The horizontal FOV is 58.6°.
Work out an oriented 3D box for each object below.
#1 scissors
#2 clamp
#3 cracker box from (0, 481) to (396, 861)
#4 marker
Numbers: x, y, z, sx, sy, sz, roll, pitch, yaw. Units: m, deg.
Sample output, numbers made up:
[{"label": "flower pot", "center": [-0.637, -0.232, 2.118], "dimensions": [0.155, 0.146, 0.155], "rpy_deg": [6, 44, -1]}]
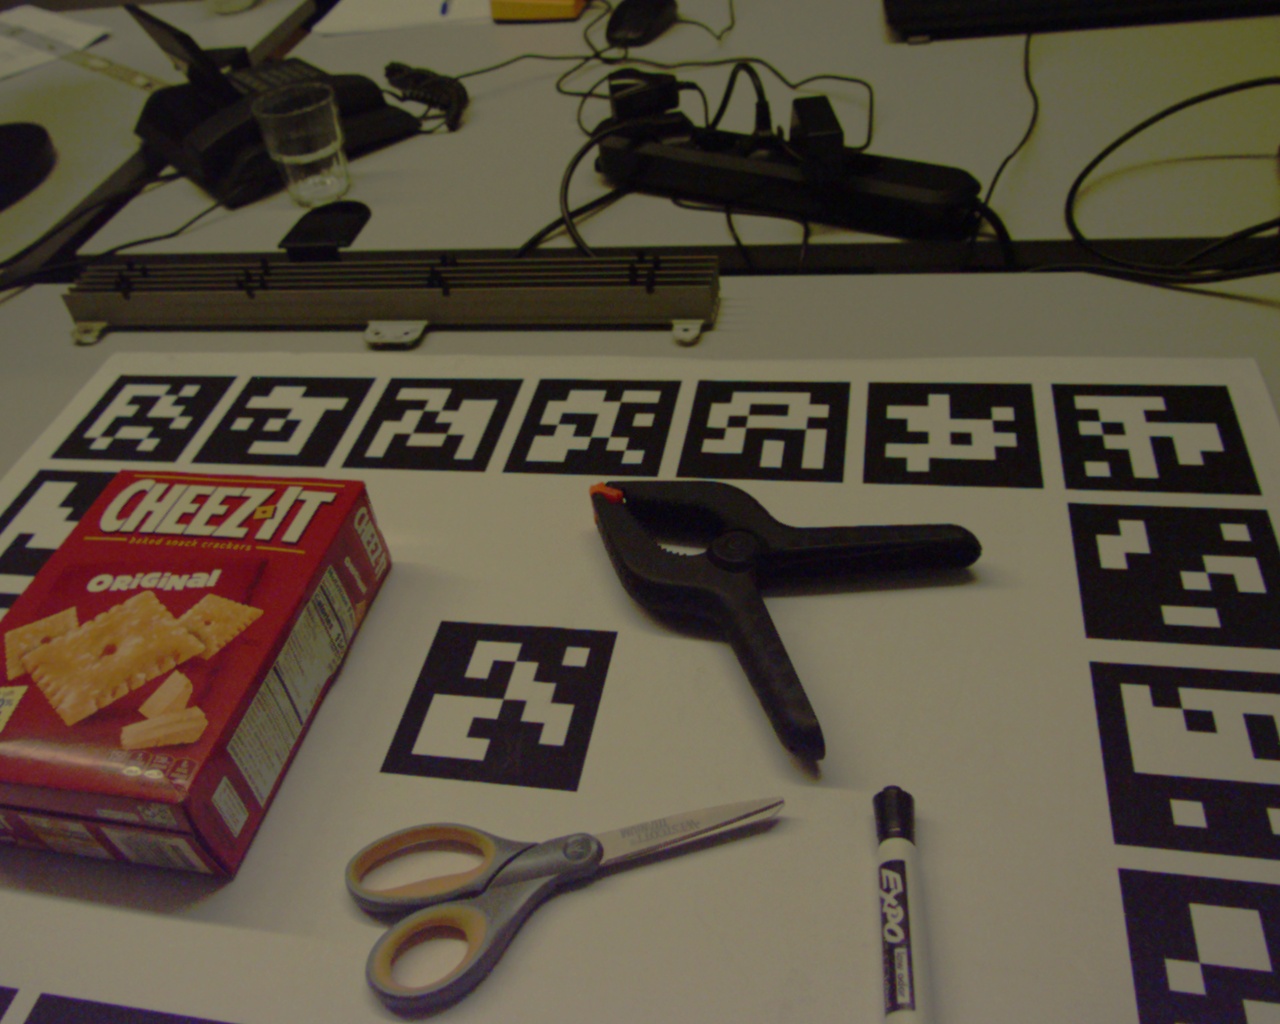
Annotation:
[{"label": "scissors", "center": [-0.037, 0.155, 0.536], "dimensions": [0.202, 0.016, 0.088], "rpy_deg": [-16, 40, -10]}, {"label": "clamp", "center": [0.045, 0.034, 0.663], "dimensions": [0.205, 0.036, 0.164], "rpy_deg": [26, 51, 33]}, {"label": "cracker box", "center": [-0.254, 0.075, 0.632], "dimensions": [0.165, 0.071, 0.213], "rpy_deg": [2, 43, 14]}, {"label": "marker", "center": [0.101, 0.162, 0.499], "dimensions": [0.020, 0.019, 0.121], "rpy_deg": [-1, 41, 10]}]
